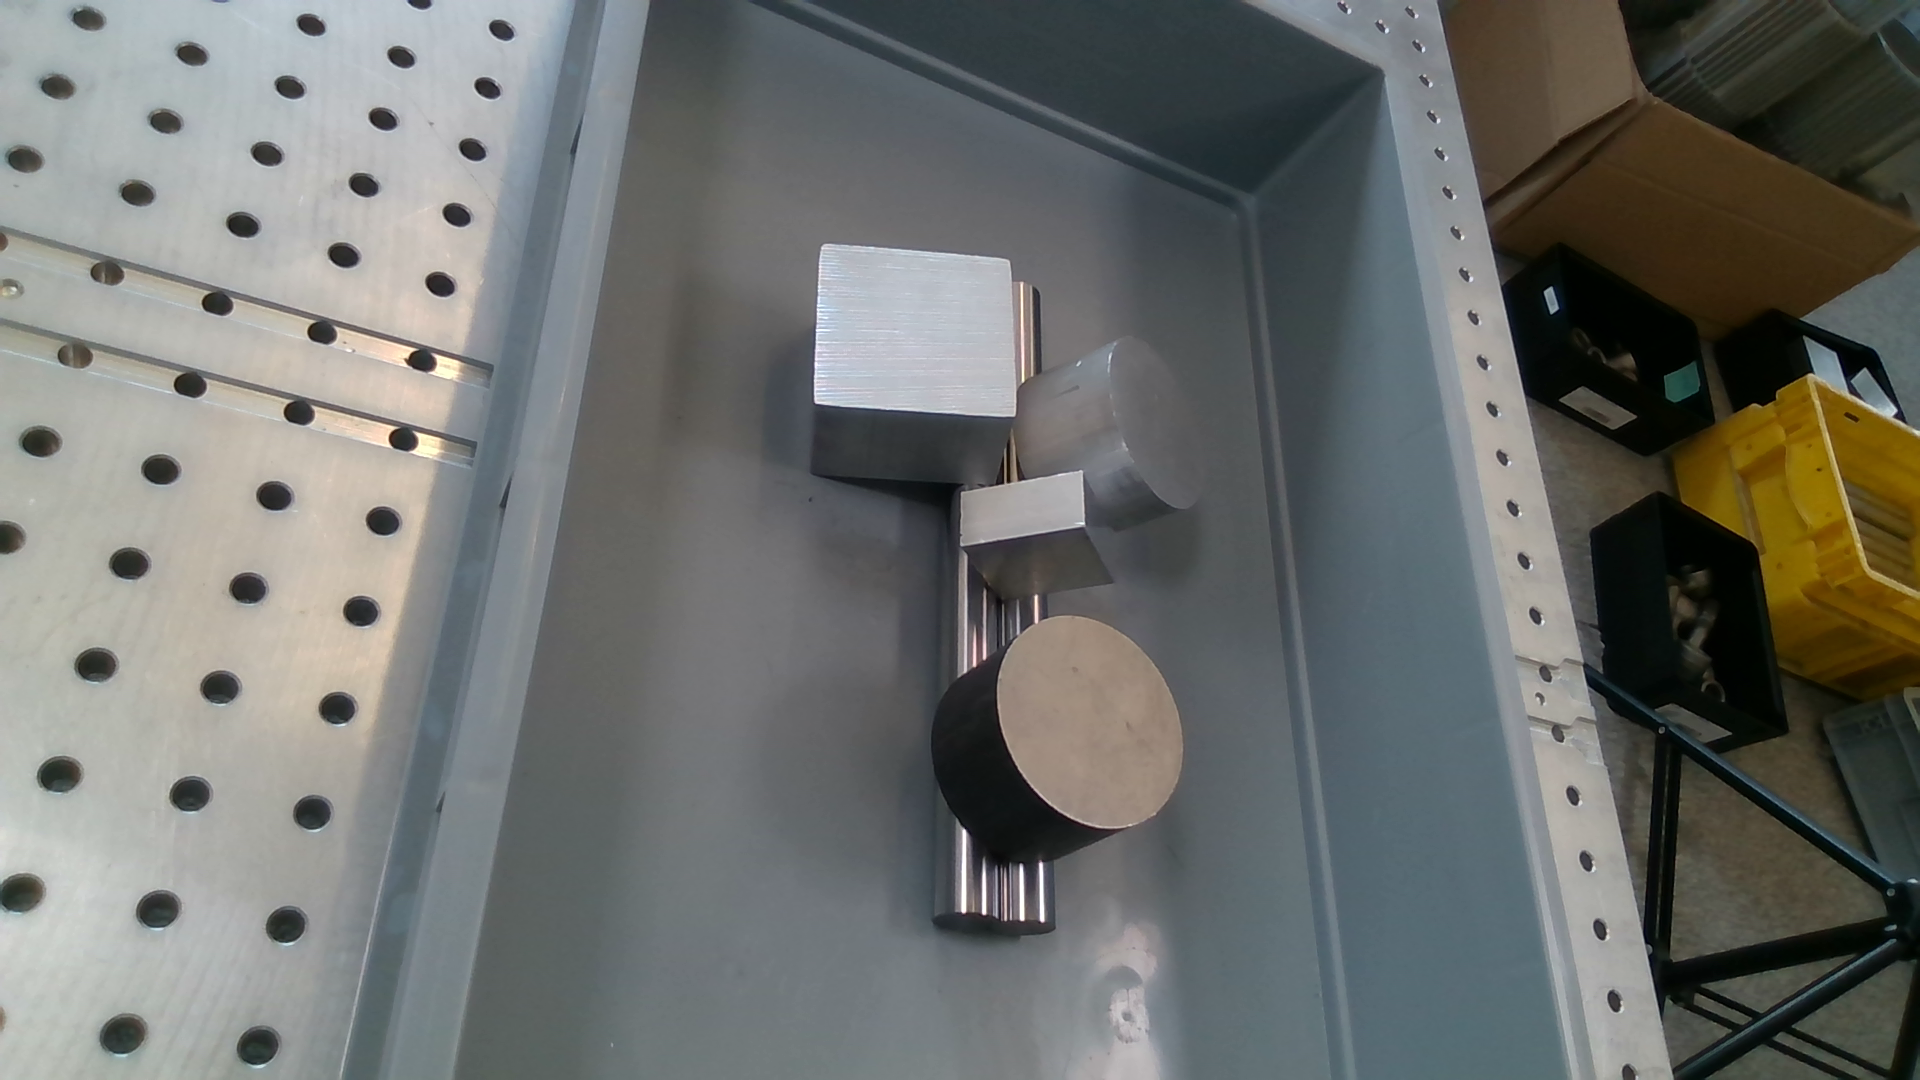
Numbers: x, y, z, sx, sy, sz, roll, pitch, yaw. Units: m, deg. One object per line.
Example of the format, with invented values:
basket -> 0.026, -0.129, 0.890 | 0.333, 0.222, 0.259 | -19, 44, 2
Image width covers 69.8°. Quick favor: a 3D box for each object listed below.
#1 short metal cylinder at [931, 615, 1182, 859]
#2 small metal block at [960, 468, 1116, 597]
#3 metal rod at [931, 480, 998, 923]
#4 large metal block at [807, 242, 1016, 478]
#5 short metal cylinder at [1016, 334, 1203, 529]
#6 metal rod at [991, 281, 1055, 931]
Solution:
short metal cylinder -> 0.036, 0.075, 0.519 | 0.080, 0.050, 0.080 | 14, 59, -25
small metal block -> 0.032, -0.002, 0.553 | 0.050, 0.050, 0.025 | 54, 32, -56
metal rod -> 0.003, 0.009, 0.583 | 0.025, 0.025, 0.299 | 15, 58, -25
large metal block -> -0.022, -0.074, 0.578 | 0.080, 0.050, 0.080 | 3, 62, -8
short metal cylinder -> 0.067, -0.045, 0.616 | 0.080, 0.050, 0.080 | 31, 49, -45
metal rod -> 0.025, 0.014, 0.593 | 0.025, 0.025, 0.299 | 15, 58, -25
